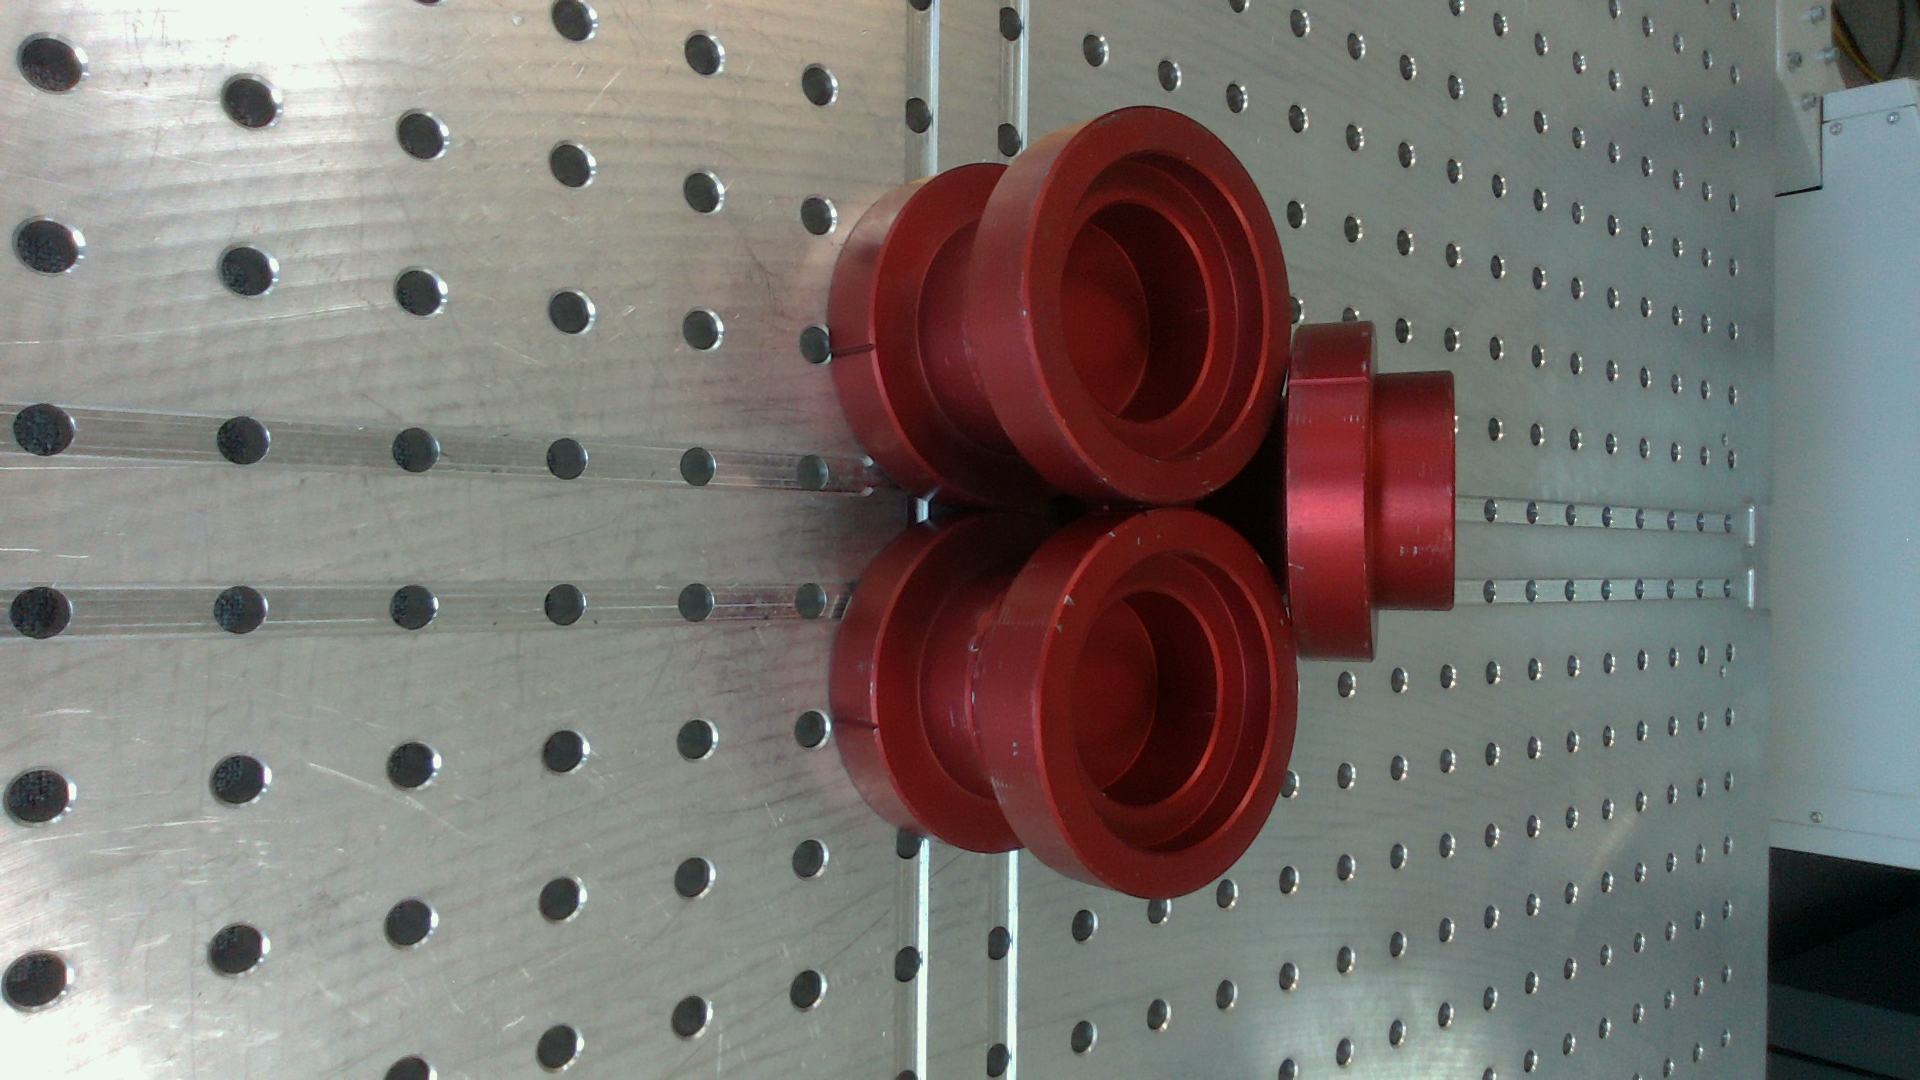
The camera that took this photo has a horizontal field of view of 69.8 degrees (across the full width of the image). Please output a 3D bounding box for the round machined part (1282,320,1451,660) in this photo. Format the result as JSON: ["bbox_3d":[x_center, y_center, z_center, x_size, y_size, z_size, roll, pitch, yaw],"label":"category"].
[{"bbox_3d":[0.119,-0.014,0.397,0.098,0.042,0.098,-1,90,-72],"label":"round machined part"}]

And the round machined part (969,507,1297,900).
[{"bbox_3d":[0.041,0.041,0.360,0.098,0.042,0.098,0,90,-40],"label":"round machined part"}]

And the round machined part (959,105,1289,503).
[{"bbox_3d":[0.039,-0.058,0.357,0.098,0.042,0.098,0,90,-40],"label":"round machined part"}]

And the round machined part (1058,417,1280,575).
[{"bbox_3d":[0.081,-0.015,0.449,0.098,0.042,0.098,0,90,-40],"label":"round machined part"}]

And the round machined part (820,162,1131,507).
[{"bbox_3d":[0.012,-0.058,0.392,0.098,0.042,0.098,0,90,-40],"label":"round machined part"}]

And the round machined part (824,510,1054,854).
[{"bbox_3d":[0.013,0.040,0.392,0.098,0.042,0.098,0,90,-40],"label":"round machined part"}]
